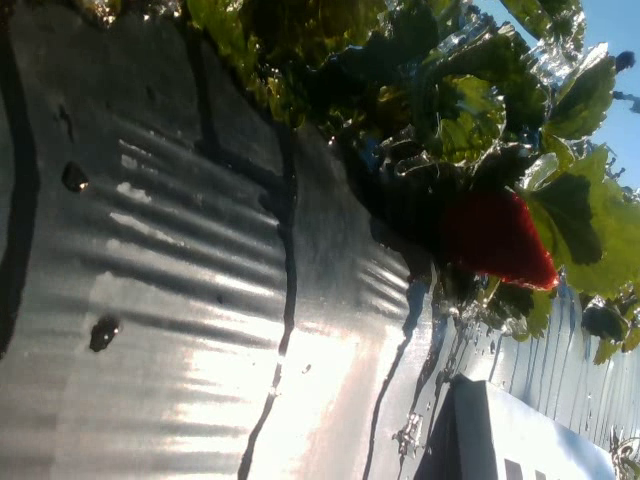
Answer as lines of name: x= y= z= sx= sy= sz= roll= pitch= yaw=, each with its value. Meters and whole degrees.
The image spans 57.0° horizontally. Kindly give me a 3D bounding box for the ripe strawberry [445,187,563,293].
ripe strawberry: x=0.076 y=0.004 z=0.238 sx=0.041 sy=0.047 sz=0.053 roll=27 pitch=17 yaw=-48
